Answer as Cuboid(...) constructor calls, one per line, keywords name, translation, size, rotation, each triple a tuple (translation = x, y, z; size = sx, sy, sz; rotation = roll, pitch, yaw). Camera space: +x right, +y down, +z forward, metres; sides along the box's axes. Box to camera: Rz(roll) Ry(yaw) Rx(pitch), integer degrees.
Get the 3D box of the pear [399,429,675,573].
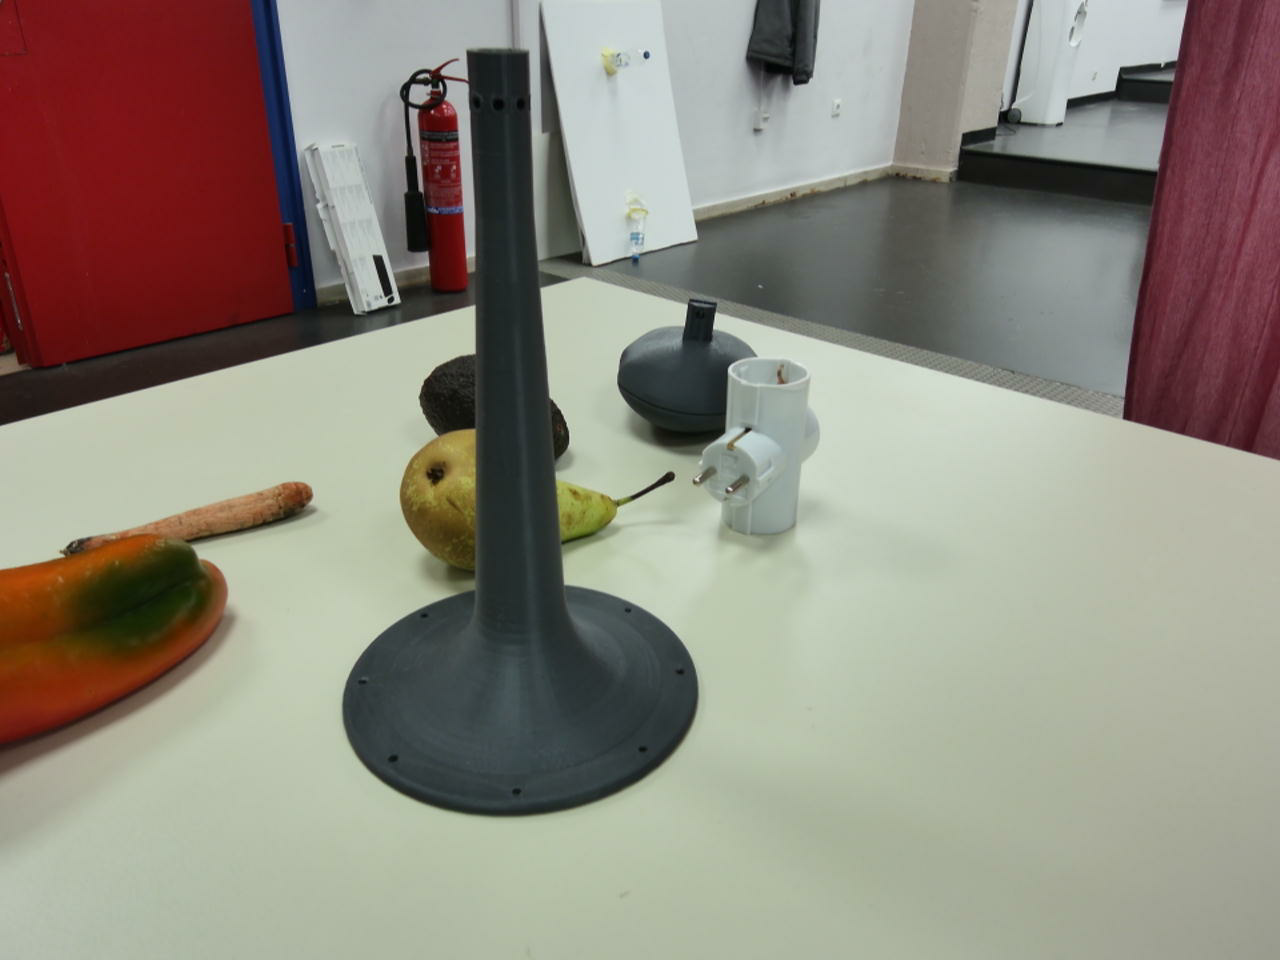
Cuboid(name="pear", translation=(-0.058, 0.000, 0.528), size=(0.144, 0.075, 0.072), rotation=(-21, 31, -37))
